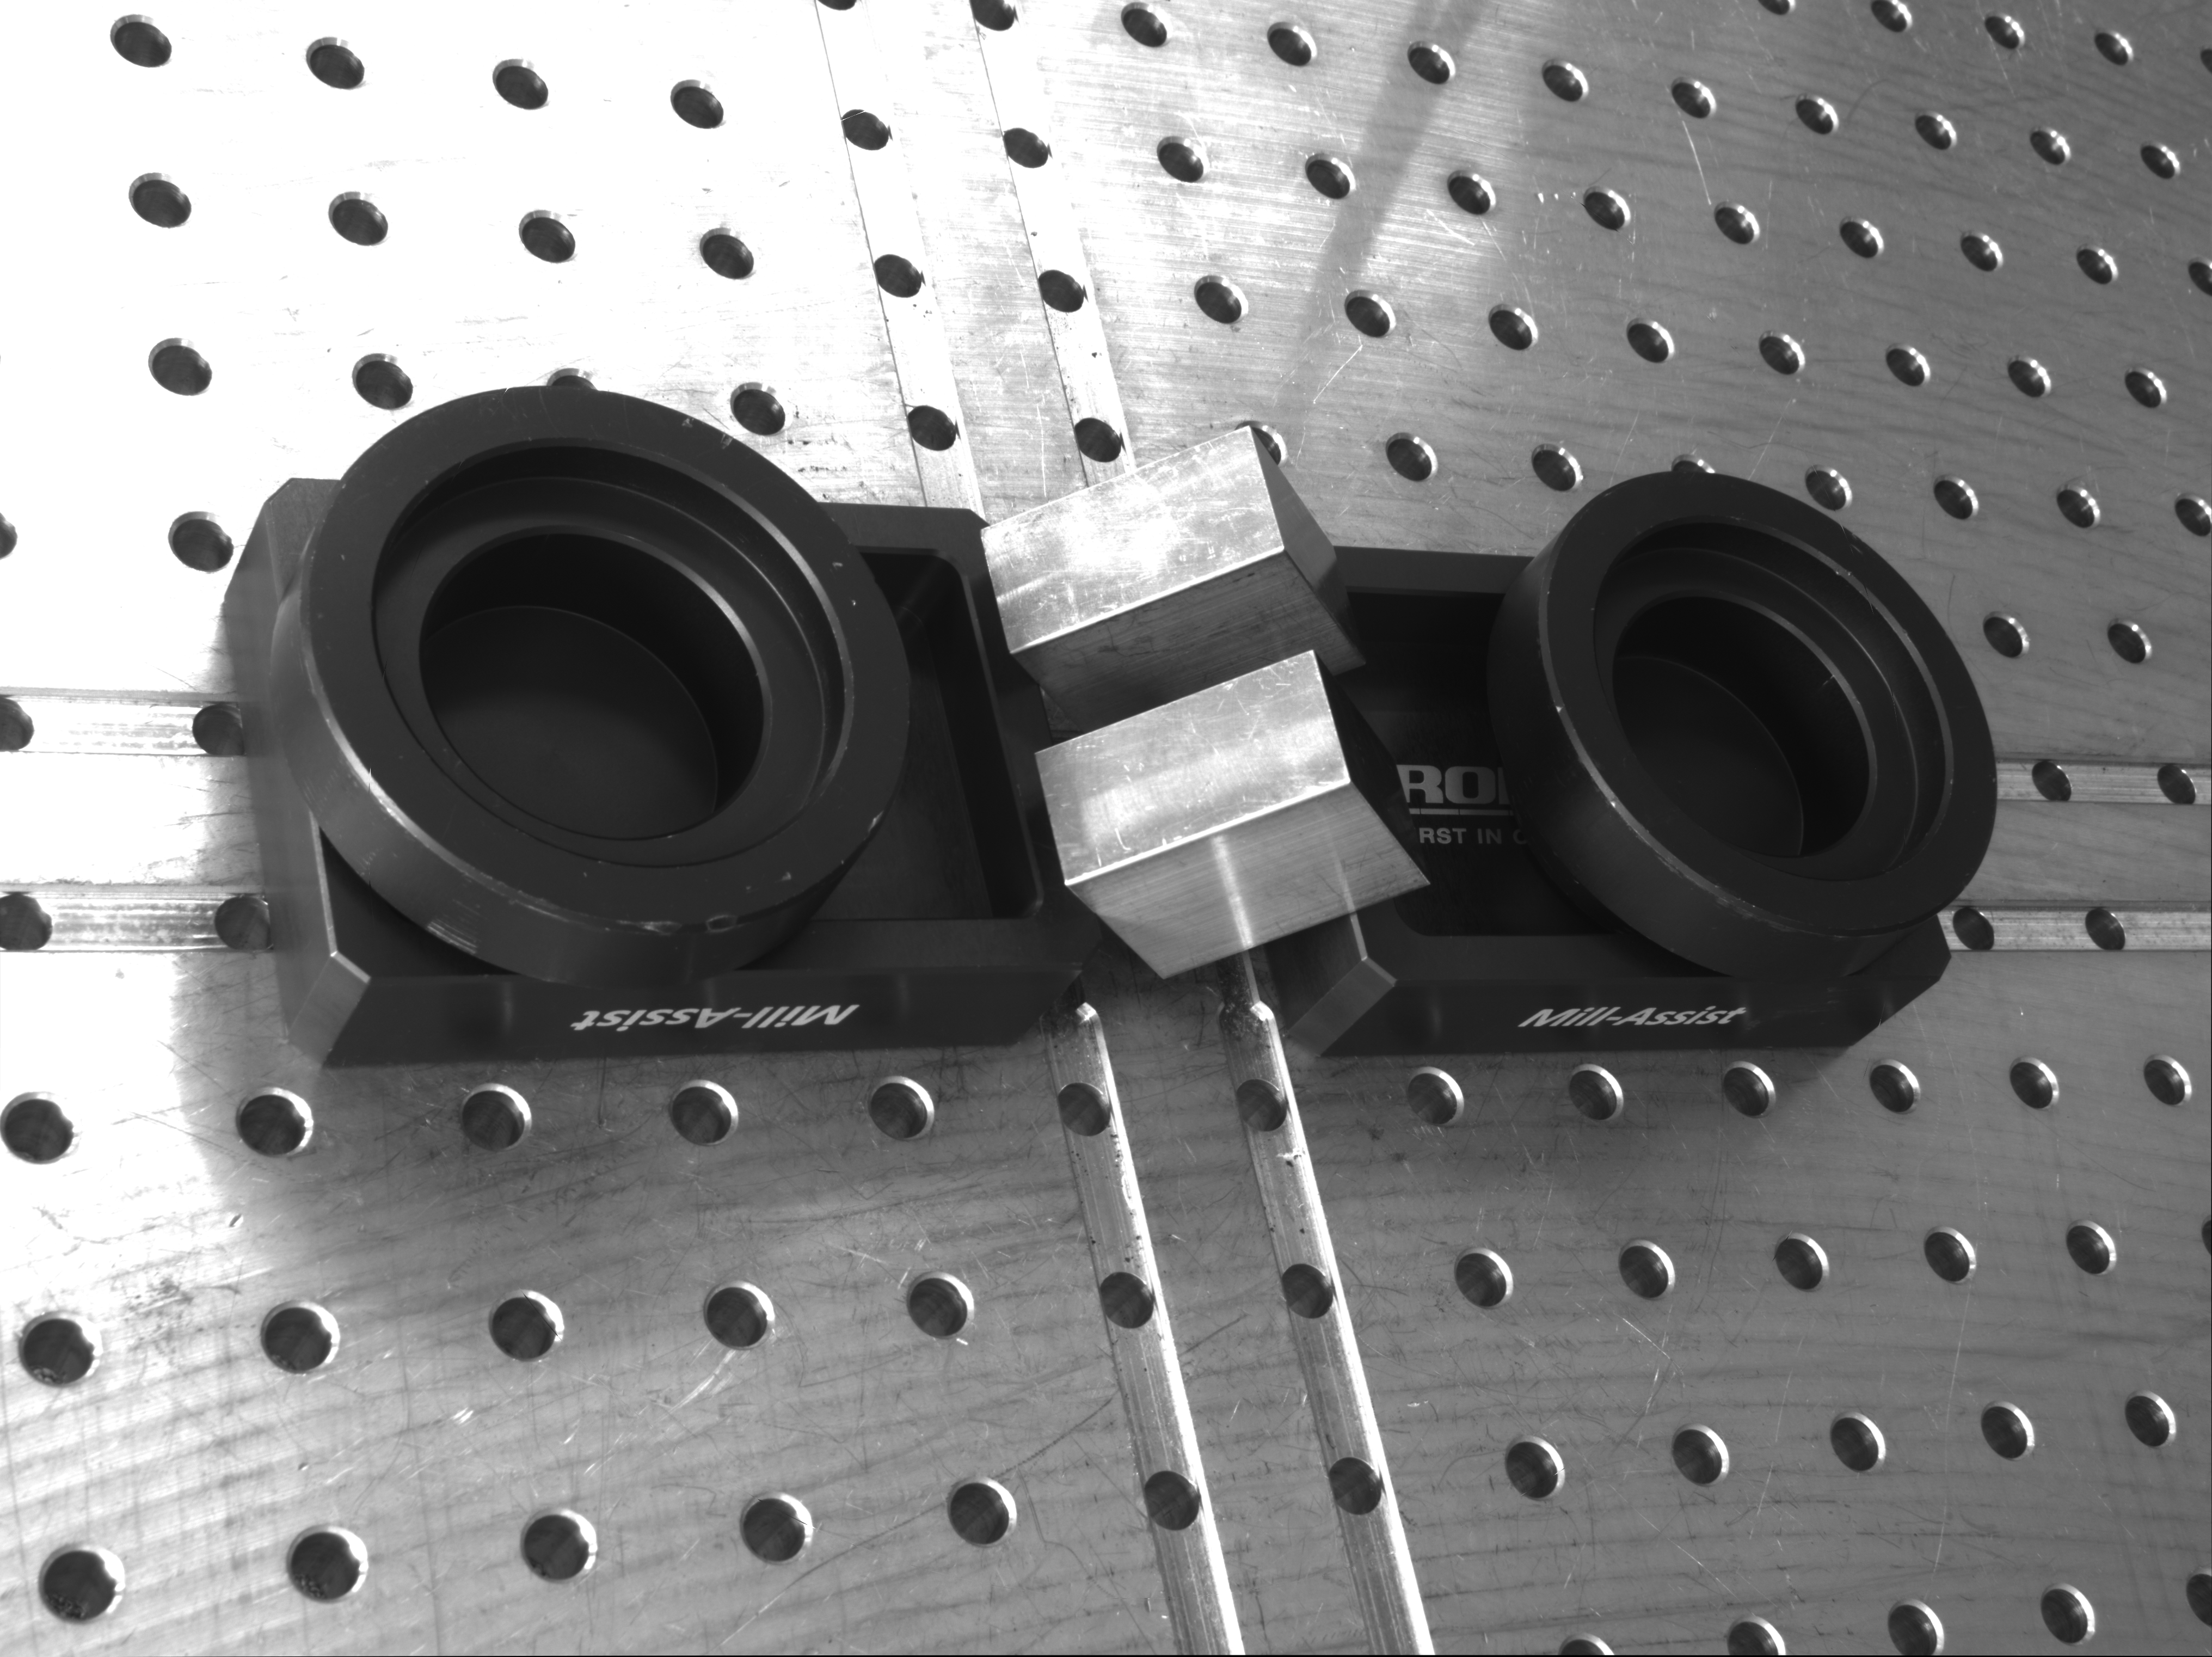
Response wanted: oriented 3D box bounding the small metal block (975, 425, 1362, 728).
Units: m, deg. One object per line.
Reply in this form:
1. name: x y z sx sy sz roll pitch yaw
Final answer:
1. small metal block: 0.012 -0.040 0.638 0.050 0.050 0.025 -19 64 12

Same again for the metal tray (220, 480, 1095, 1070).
1. metal tray: -0.074 -0.009 0.606 0.130 0.030 0.090 0 64 -28

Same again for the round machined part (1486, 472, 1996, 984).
1. round machined part: 0.113 -0.014 0.684 0.098 0.042 0.098 14 56 -21

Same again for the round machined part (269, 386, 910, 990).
1. round machined part: -0.084 -0.018 0.581 0.098 0.042 0.098 14 56 -21

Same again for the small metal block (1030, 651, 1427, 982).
1. small metal block: 0.021 -0.001 0.619 0.050 0.050 0.025 -19 64 12

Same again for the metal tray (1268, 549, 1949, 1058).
1. metal tray: 0.087 -0.005 0.689 0.130 0.030 0.090 1 61 -28
